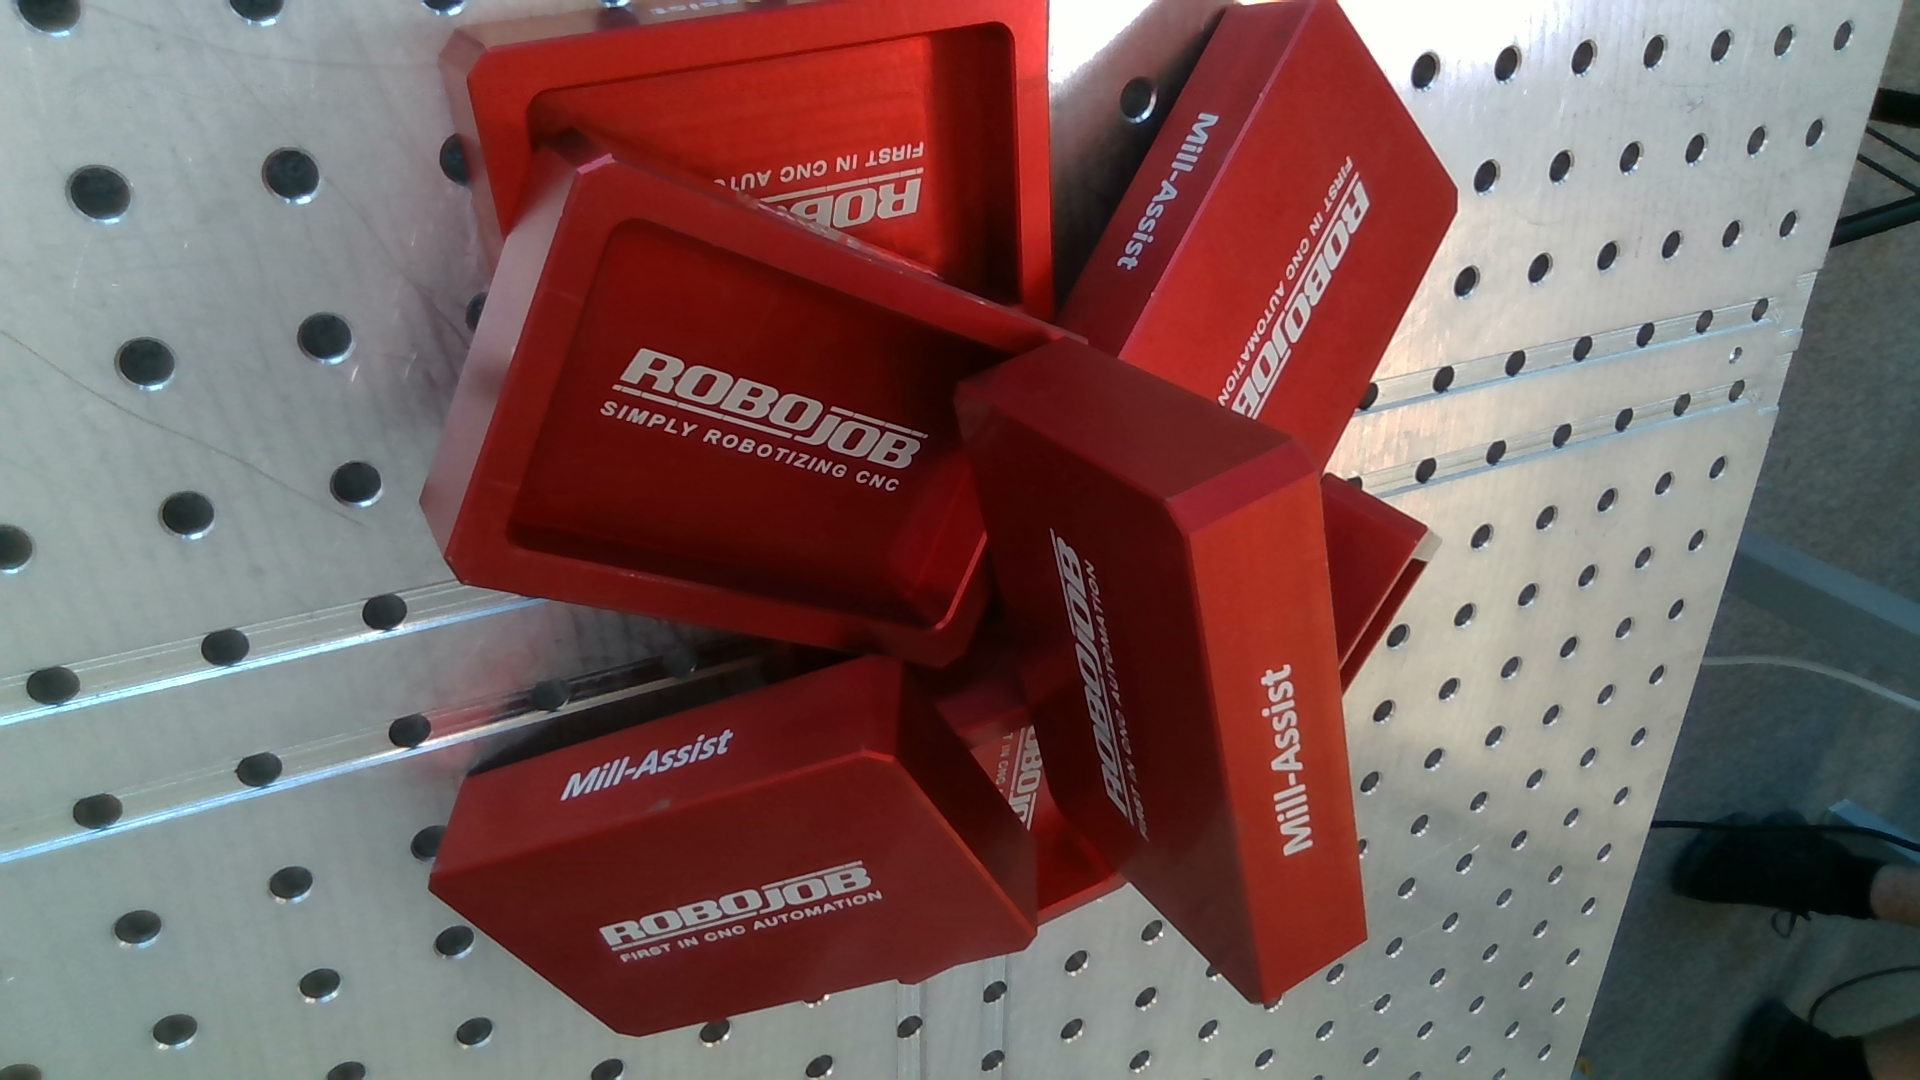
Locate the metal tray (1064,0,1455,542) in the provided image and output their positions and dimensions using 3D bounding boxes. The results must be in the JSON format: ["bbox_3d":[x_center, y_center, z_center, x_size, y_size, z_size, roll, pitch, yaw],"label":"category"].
[{"bbox_3d":[0.081,-0.069,0.380,0.090,0.030,0.130,36,77,-39],"label":"metal tray"}]

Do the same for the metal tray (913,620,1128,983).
[{"bbox_3d":[0.018,0.075,0.417,0.090,0.030,0.130,-18,140,-22],"label":"metal tray"}]

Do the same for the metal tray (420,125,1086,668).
[{"bbox_3d":[-0.041,-0.025,0.310,0.130,0.030,0.090,14,107,-36],"label":"metal tray"}]

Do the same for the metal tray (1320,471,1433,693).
[{"bbox_3d":[0.110,0.029,0.429,0.090,0.030,0.130,-61,161,9],"label":"metal tray"}]

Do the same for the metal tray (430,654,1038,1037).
[{"bbox_3d":[-0.056,0.084,0.357,0.130,0.030,0.090,-18,130,18],"label":"metal tray"}]

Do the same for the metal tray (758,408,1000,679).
[{"bbox_3d":[0.005,-0.006,0.388,0.130,0.030,0.090,-20,126,-24],"label":"metal tray"}]

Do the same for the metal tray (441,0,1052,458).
[{"bbox_3d":[-0.042,-0.079,0.321,0.130,0.030,0.090,-19,124,-23],"label":"metal tray"}]

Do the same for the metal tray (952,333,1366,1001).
[{"bbox_3d":[0.044,0.027,0.309,0.030,0.090,0.130,-25,121,-18],"label":"metal tray"}]
